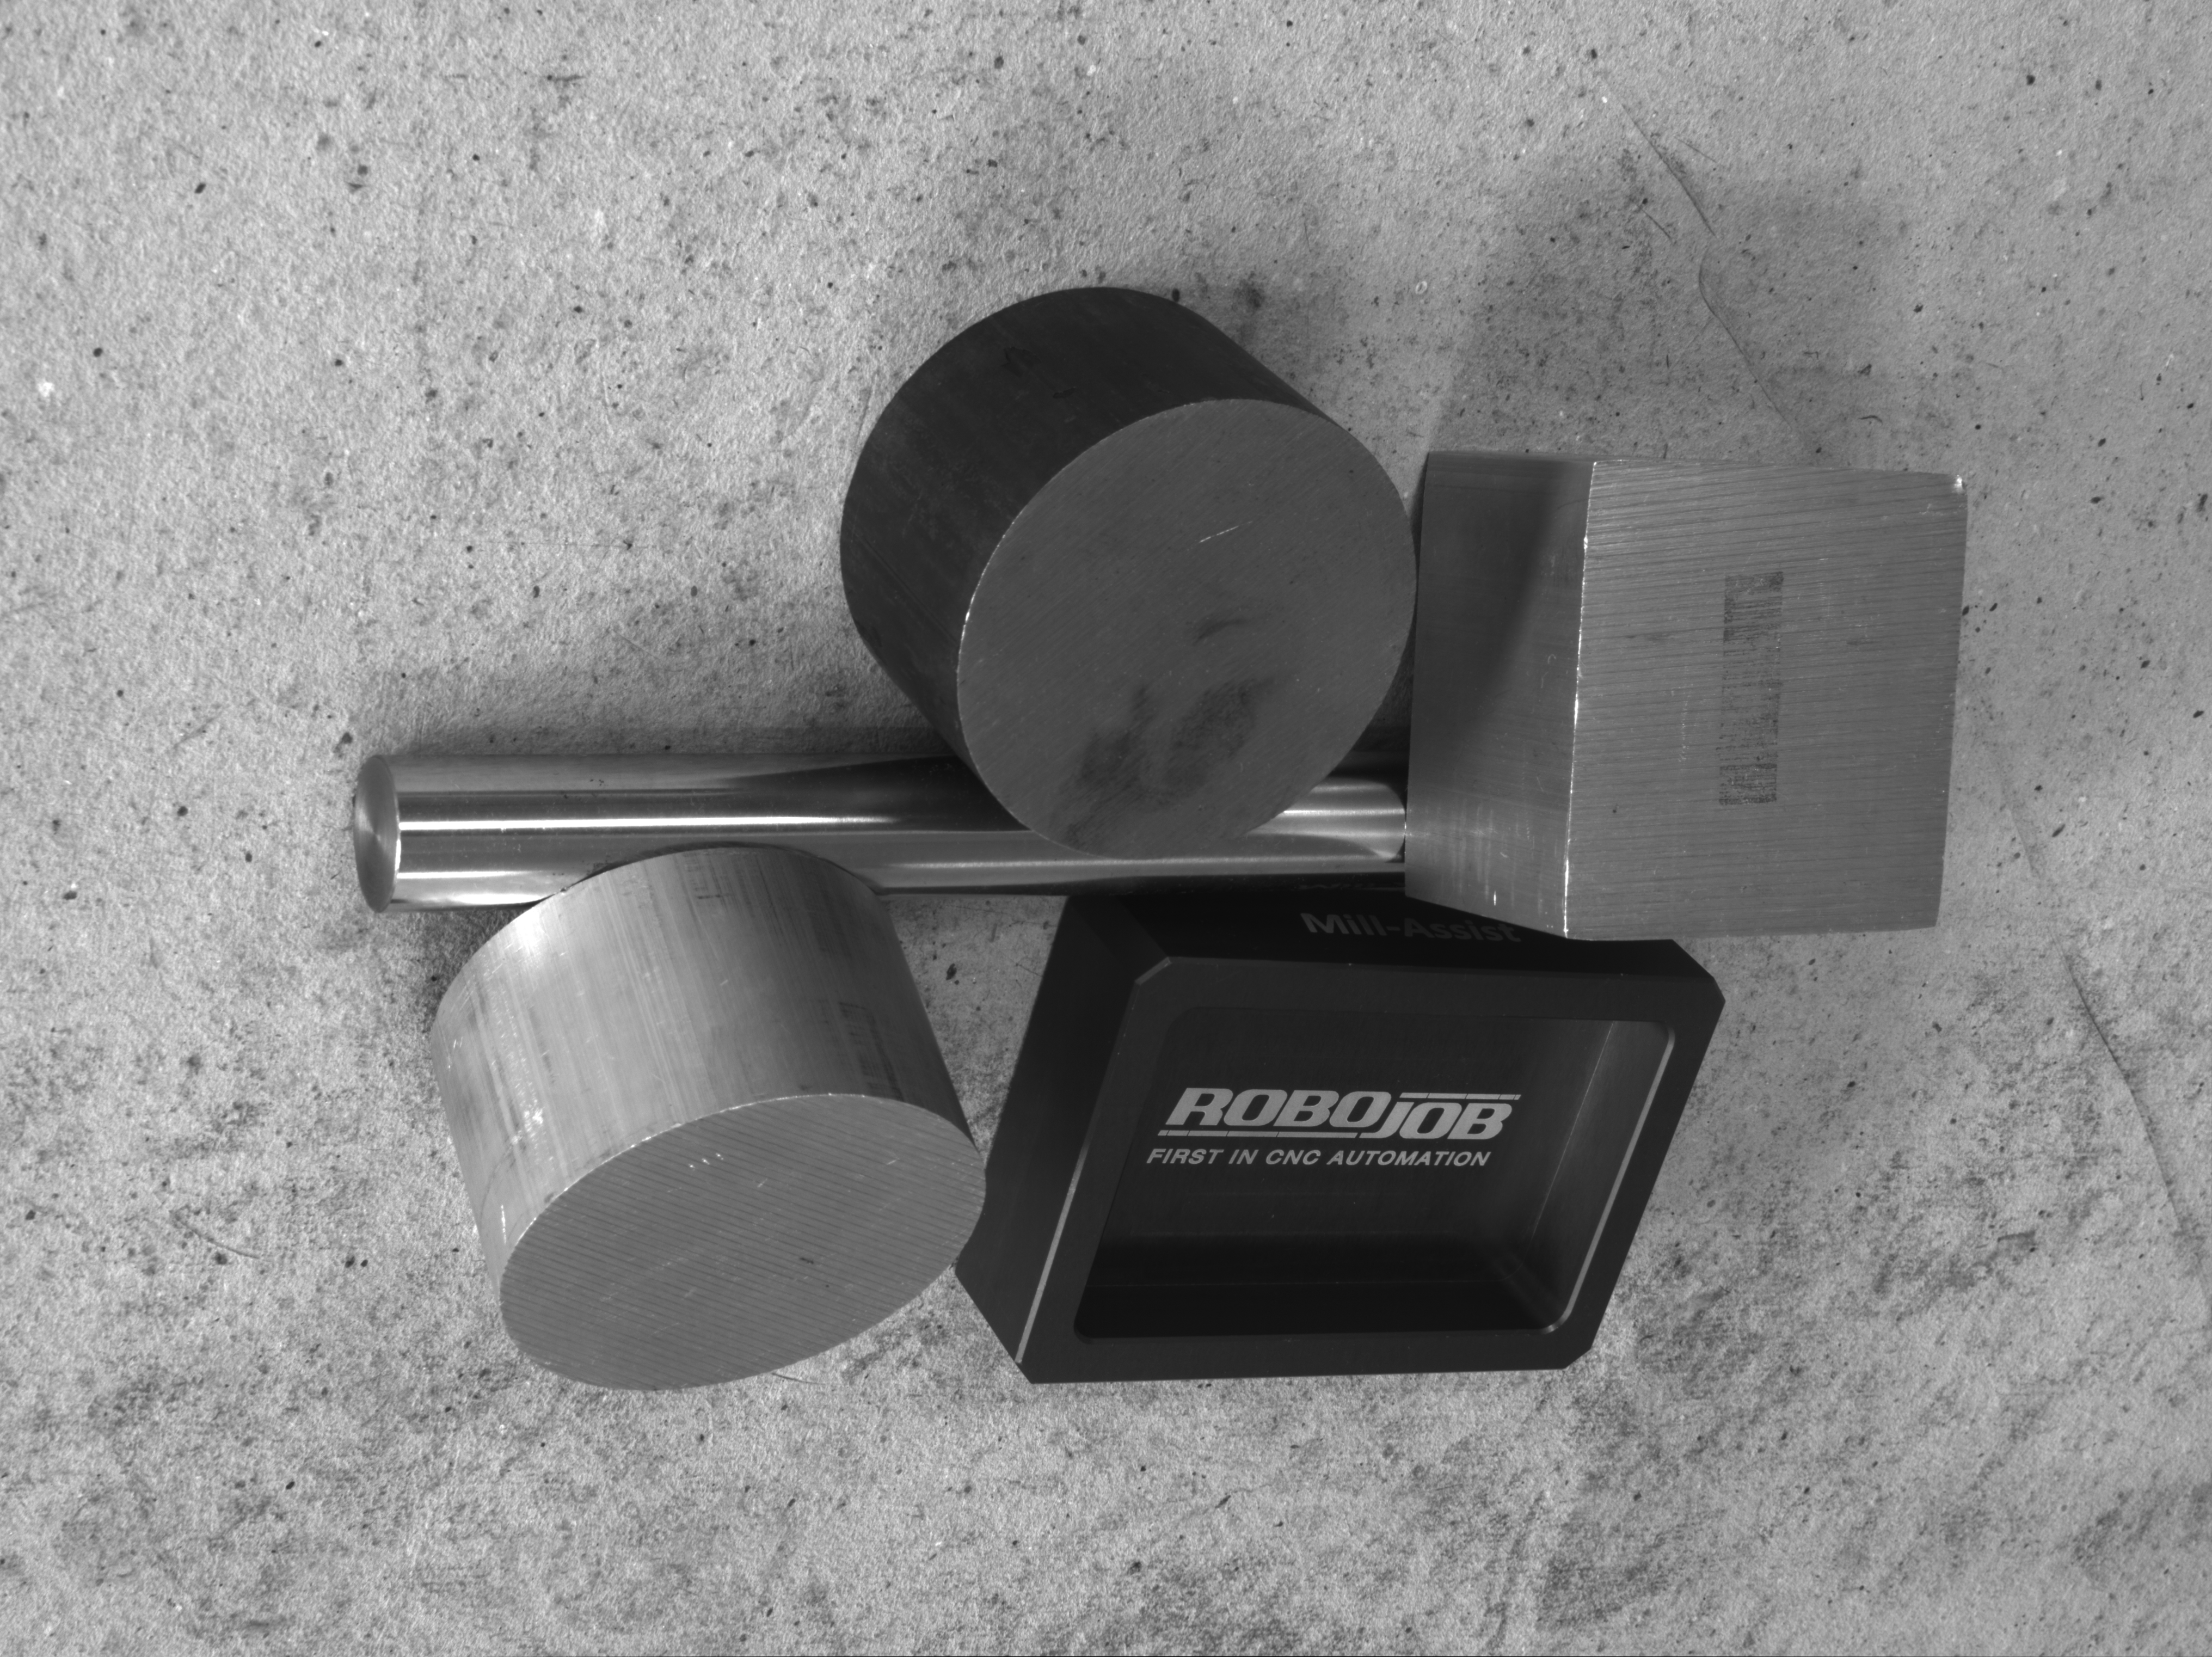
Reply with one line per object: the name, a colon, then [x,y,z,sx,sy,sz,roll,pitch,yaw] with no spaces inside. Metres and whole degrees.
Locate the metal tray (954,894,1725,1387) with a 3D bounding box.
metal tray: [0.045,0.059,0.693,0.130,0.030,0.090,3,117,-30]

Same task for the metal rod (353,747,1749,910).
metal rod: [0.018,-0.002,0.648,0.301,0.025,0.025,-1,119,-28]

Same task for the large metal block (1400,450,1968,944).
large metal block: [0.101,-0.024,0.646,0.080,0.050,0.080,-1,97,-28]

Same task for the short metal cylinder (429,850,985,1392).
short metal cylinder: [-0.066,0.049,0.601,0.080,0.050,0.080,-15,144,-11]

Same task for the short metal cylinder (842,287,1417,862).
short metal cylinder: [0.003,-0.042,0.599,0.080,0.050,0.080,-13,123,-21]
